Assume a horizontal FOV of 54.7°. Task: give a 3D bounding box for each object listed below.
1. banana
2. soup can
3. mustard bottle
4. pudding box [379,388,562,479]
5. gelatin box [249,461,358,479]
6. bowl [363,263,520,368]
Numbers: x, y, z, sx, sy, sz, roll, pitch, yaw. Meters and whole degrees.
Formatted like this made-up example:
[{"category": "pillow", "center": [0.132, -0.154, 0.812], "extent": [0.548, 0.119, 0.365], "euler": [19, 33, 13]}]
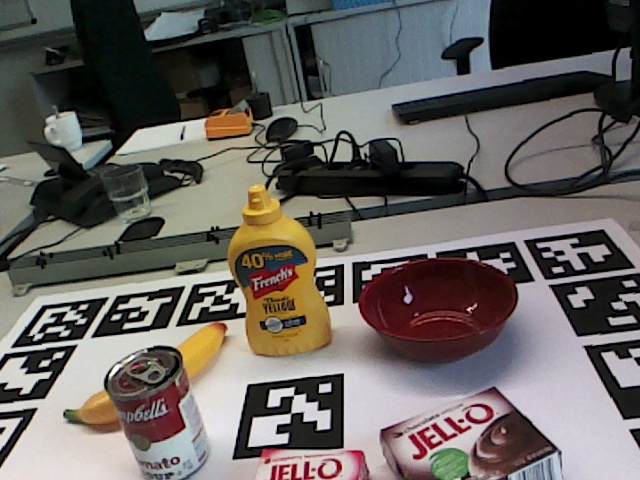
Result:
[{"category": "banana", "center": [-0.183, 0.145, 0.679], "extent": [0.196, 0.039, 0.075], "euler": [-31, 22, -36]}, {"category": "soup can", "center": [-0.153, 0.154, 0.556], "extent": [0.068, 0.102, 0.068], "euler": [-7, 24, 3]}, {"category": "mustard bottle", "center": [-0.051, 0.029, 0.660], "extent": [0.096, 0.191, 0.058], "euler": [-8, 23, 7]}, {"category": "pudding box", "center": [0.117, 0.177, 0.493], "extent": [0.113, 0.038, 0.090], "euler": [-19, 32, -15]}, {"category": "gelatin box", "center": [-0.018, 0.212, 0.487], "extent": [0.089, 0.030, 0.073], "euler": [-5, 30, 13]}, {"category": "bowl", "center": [0.130, 0.086, 0.659], "extent": [0.162, 0.055, 0.162], "euler": [-10, 25, 5]}]
